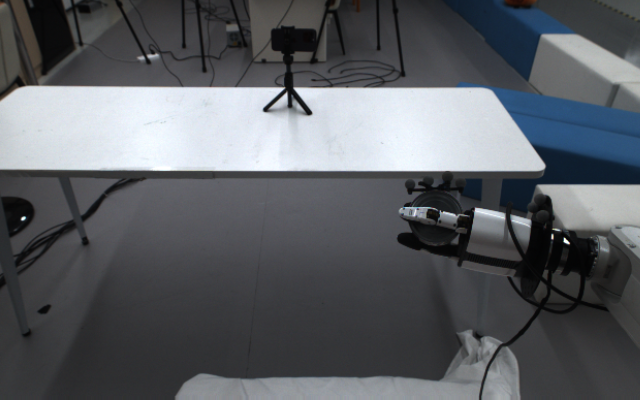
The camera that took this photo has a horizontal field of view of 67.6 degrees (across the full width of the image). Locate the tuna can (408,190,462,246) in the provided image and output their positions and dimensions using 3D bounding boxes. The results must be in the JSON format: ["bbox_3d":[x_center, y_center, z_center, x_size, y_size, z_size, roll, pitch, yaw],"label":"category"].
[{"bbox_3d":[0.183,0.027,0.769,0.085,0.034,0.085,-5,70,15],"label":"tuna can"}]
